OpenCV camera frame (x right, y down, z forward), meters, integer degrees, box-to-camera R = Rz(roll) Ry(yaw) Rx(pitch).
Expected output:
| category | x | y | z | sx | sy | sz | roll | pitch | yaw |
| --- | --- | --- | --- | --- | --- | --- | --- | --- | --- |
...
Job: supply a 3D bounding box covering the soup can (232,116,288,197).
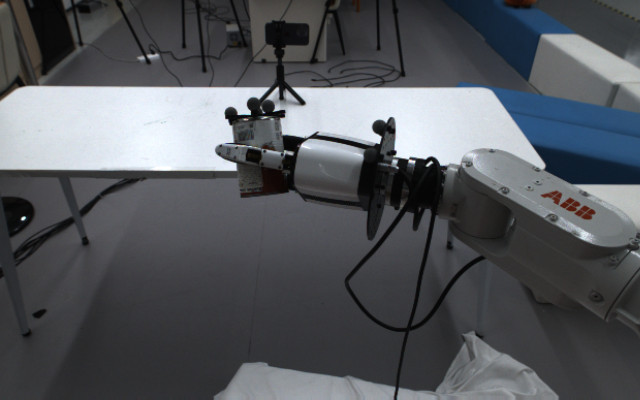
| category | x | y | z | sx | sy | sz | roll | pitch | yaw |
| --- | --- | --- | --- | --- | --- | --- | --- | --- | --- |
| soup can | -0.079 | -0.056 | 0.653 | 0.067 | 0.101 | 0.067 | -7 | 3 | 0 |
